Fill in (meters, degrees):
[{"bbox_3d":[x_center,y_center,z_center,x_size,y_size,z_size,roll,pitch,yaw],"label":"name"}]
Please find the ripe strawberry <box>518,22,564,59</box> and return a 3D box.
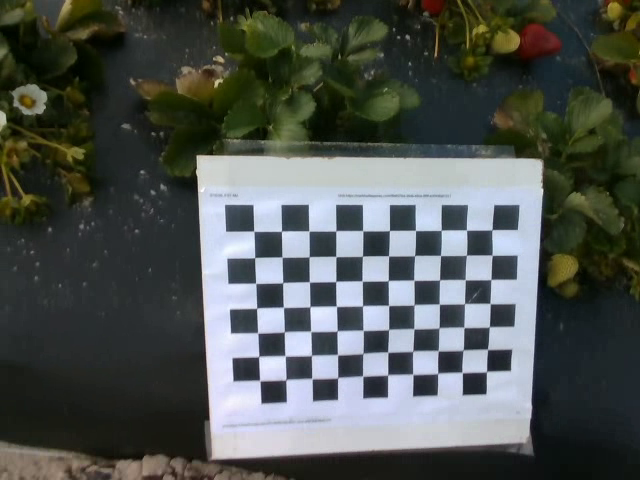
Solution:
[{"bbox_3d":[0.278,-0.248,0.820,0.048,0.051,0.055,32,2,-46],"label":"ripe strawberry"}]
